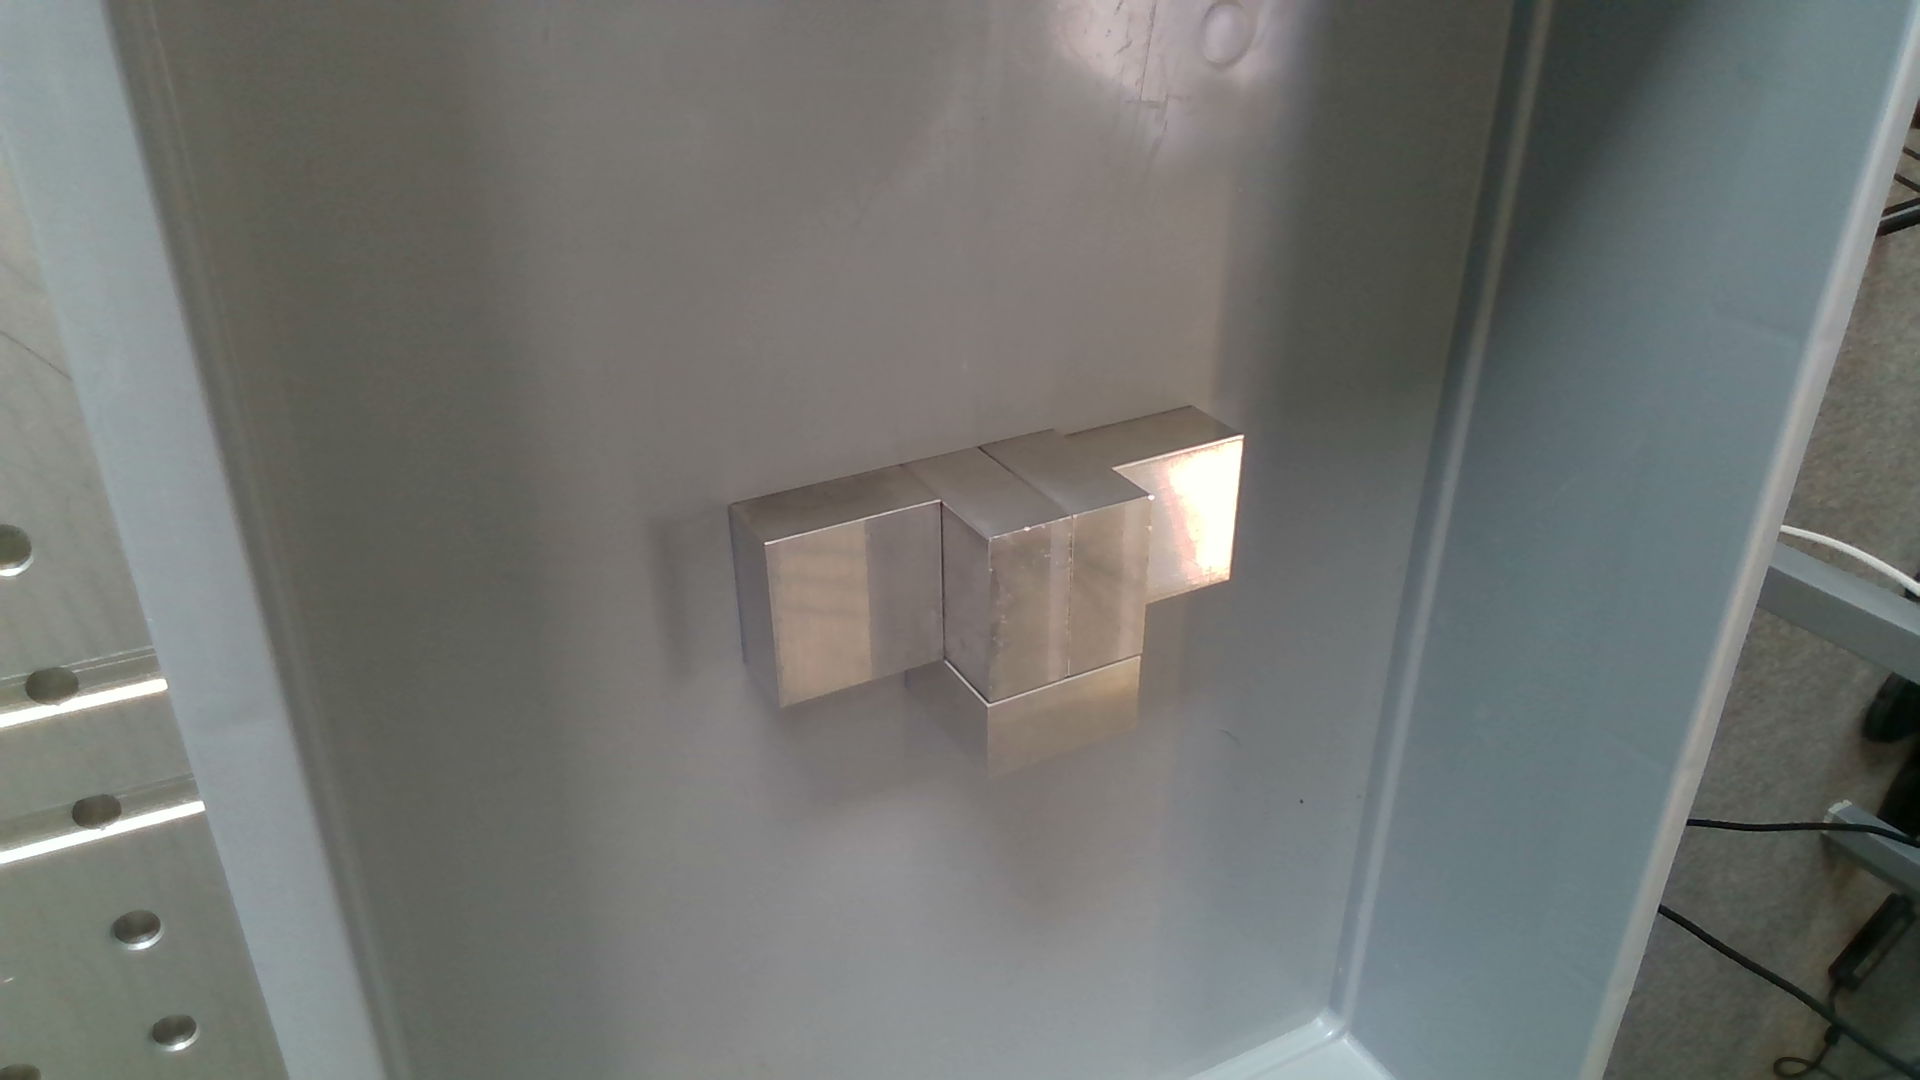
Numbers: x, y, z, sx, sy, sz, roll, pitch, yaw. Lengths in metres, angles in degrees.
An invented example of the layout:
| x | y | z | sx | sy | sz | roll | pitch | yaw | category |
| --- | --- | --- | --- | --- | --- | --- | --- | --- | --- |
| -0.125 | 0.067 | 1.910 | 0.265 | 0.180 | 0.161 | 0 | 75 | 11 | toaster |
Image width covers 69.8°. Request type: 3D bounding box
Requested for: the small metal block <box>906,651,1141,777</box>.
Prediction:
| x | y | z | sx | sy | sz | roll | pitch | yaw | category |
| --- | --- | --- | --- | --- | --- | --- | --- | --- | --- |
| 0.017 | 0.038 | 0.403 | 0.050 | 0.050 | 0.025 | -15 | 122 | -25 | small metal block |

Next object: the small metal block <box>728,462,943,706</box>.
| x | y | z | sx | sy | sz | roll | pitch | yaw | category |
| --- | --- | --- | --- | --- | --- | --- | --- | --- | --- |
| -0.033 | 0.011 | 0.374 | 0.050 | 0.025 | 0.050 | -15 | 122 | -25 | small metal block |

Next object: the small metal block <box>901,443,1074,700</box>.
| x | y | z | sx | sy | sz | roll | pitch | yaw | category |
| --- | --- | --- | --- | --- | --- | --- | --- | --- | --- |
| 0.006 | 0.008 | 0.380 | 0.025 | 0.050 | 0.050 | -15 | 122 | -25 | small metal block |

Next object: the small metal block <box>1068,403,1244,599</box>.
| x | y | z | sx | sy | sz | roll | pitch | yaw | category |
| --- | --- | --- | --- | --- | --- | --- | --- | --- | --- |
| 0.056 | -0.010 | 0.417 | 0.050 | 0.025 | 0.050 | -15 | 122 | -25 | small metal block |

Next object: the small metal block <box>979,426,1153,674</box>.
| x | y | z | sx | sy | sz | roll | pitch | yaw | category |
| --- | --- | --- | --- | --- | --- | --- | --- | --- | --- |
| 0.028 | 0.002 | 0.390 | 0.025 | 0.050 | 0.050 | -15 | 122 | -25 | small metal block |
